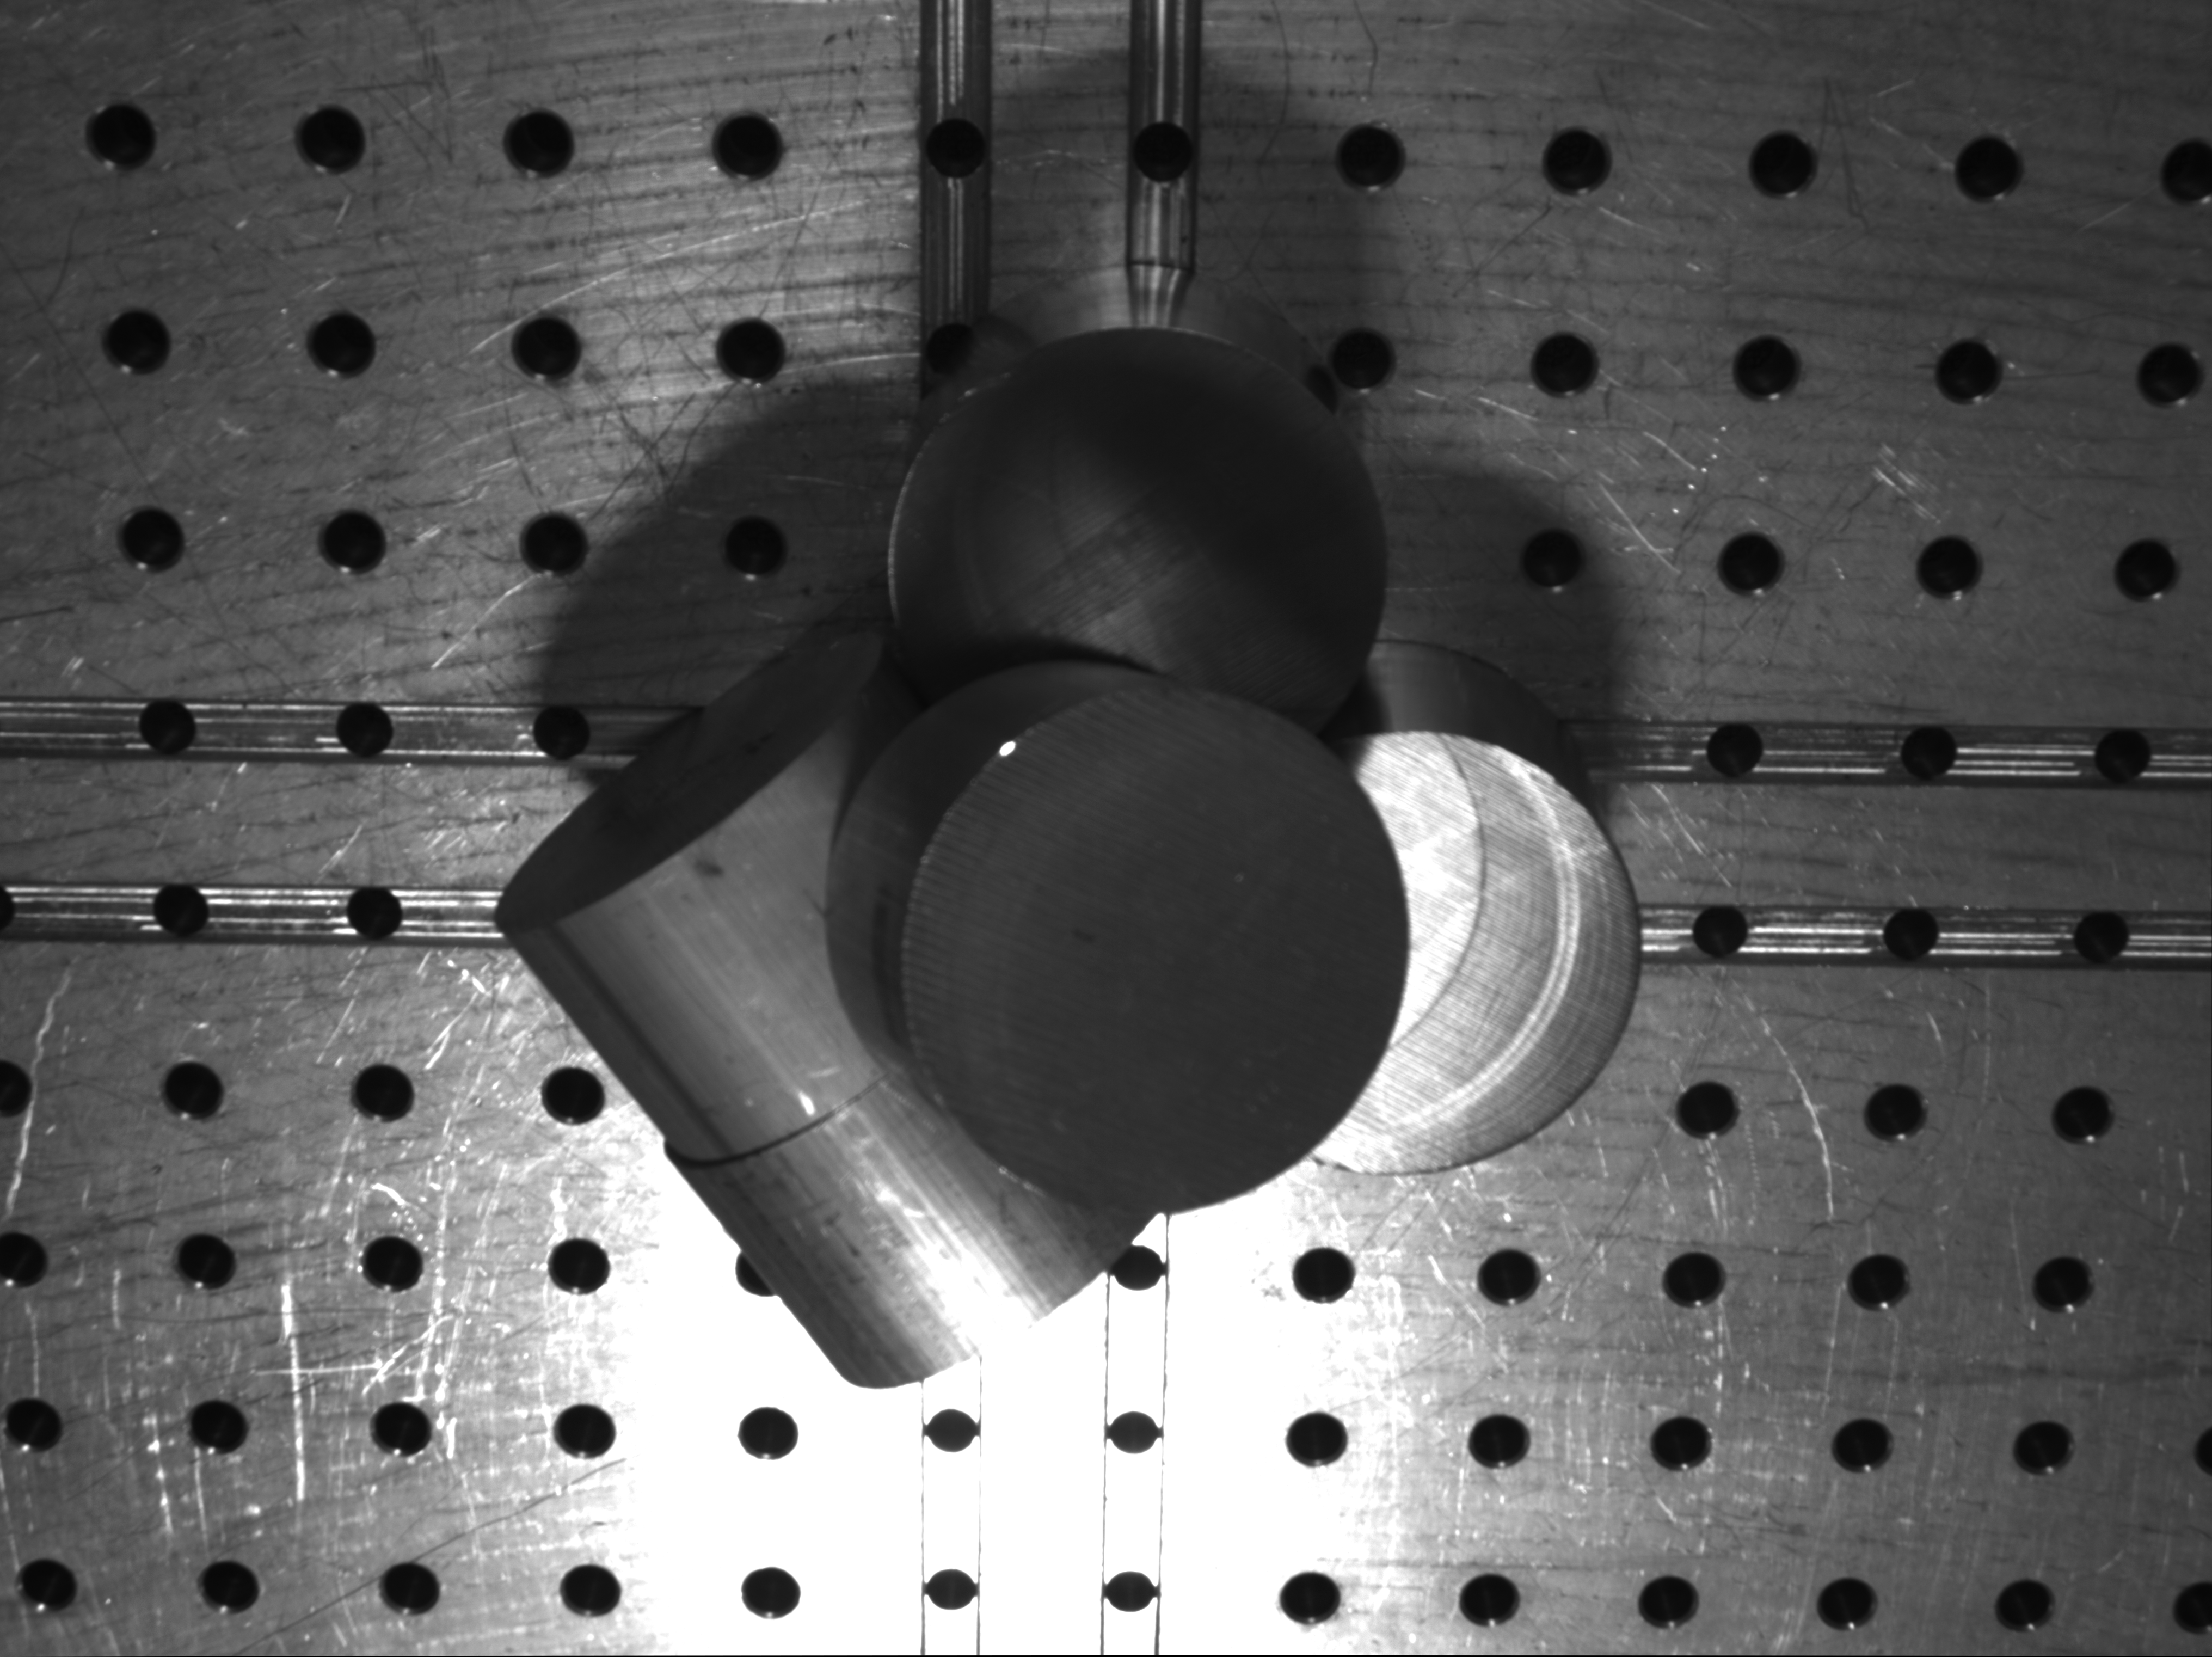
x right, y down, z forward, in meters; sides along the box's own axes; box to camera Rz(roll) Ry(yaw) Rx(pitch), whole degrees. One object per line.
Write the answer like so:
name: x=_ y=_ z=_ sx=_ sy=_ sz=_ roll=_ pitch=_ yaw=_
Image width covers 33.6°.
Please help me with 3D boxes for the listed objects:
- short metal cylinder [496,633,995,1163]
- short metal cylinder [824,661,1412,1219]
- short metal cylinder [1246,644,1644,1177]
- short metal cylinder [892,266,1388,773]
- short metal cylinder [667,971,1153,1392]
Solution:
short metal cylinder: x=-0.056 y=0.011 z=0.620 sx=0.080 sy=0.080 sz=0.050 roll=-32 pitch=107 yaw=11
short metal cylinder: x=0.001 y=0.016 z=0.570 sx=0.080 sy=0.050 sz=0.080 roll=-2 pitch=98 yaw=-18
short metal cylinder: x=0.050 y=0.014 z=0.637 sx=0.080 sy=0.050 sz=0.080 roll=0 pitch=110 yaw=-1
short metal cylinder: x=0.005 y=-0.050 z=0.613 sx=0.080 sy=0.050 sz=0.080 roll=0 pitch=110 yaw=-1
short metal cylinder: x=-0.029 y=0.051 z=0.634 sx=0.080 sy=0.080 sz=0.050 roll=-32 pitch=107 yaw=10
